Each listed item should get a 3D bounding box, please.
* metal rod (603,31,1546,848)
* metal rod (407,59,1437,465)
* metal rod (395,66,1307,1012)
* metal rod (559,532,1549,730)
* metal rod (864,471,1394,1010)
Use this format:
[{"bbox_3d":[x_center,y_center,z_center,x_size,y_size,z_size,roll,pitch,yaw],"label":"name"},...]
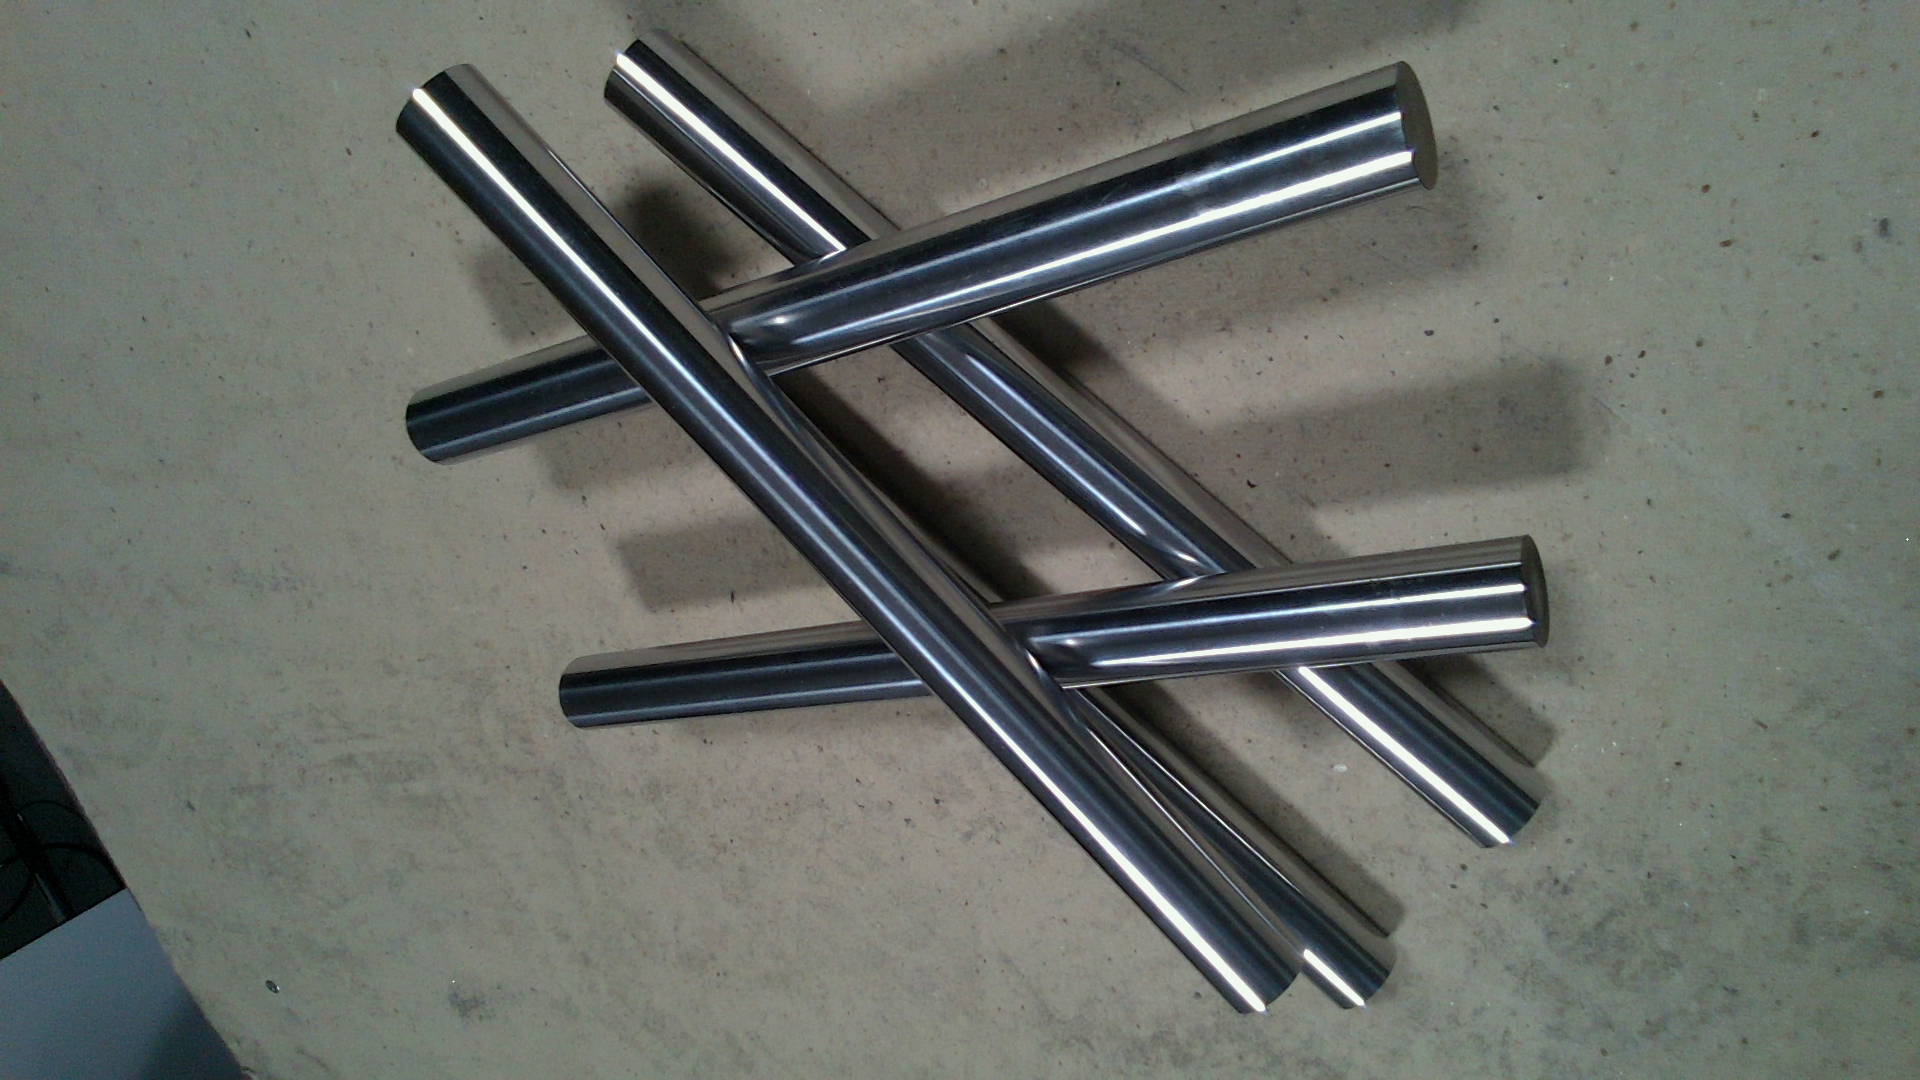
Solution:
[{"bbox_3d":[0.029,-0.026,0.361,0.300,0.025,0.025,40,129,1],"label":"metal rod"},{"bbox_3d":[-0.036,-0.058,0.345,0.299,0.025,0.025,-10,113,33],"label":"metal rod"},{"bbox_3d":[-0.023,0.004,0.343,0.300,0.025,0.025,46,129,-5],"label":"metal rod"},{"bbox_3d":[0.001,0.031,0.380,0.299,0.025,0.025,-9,114,32],"label":"metal rod"},{"bbox_3d":[0.008,0.029,0.406,0.300,0.025,0.025,42,129,-1],"label":"metal rod"}]
